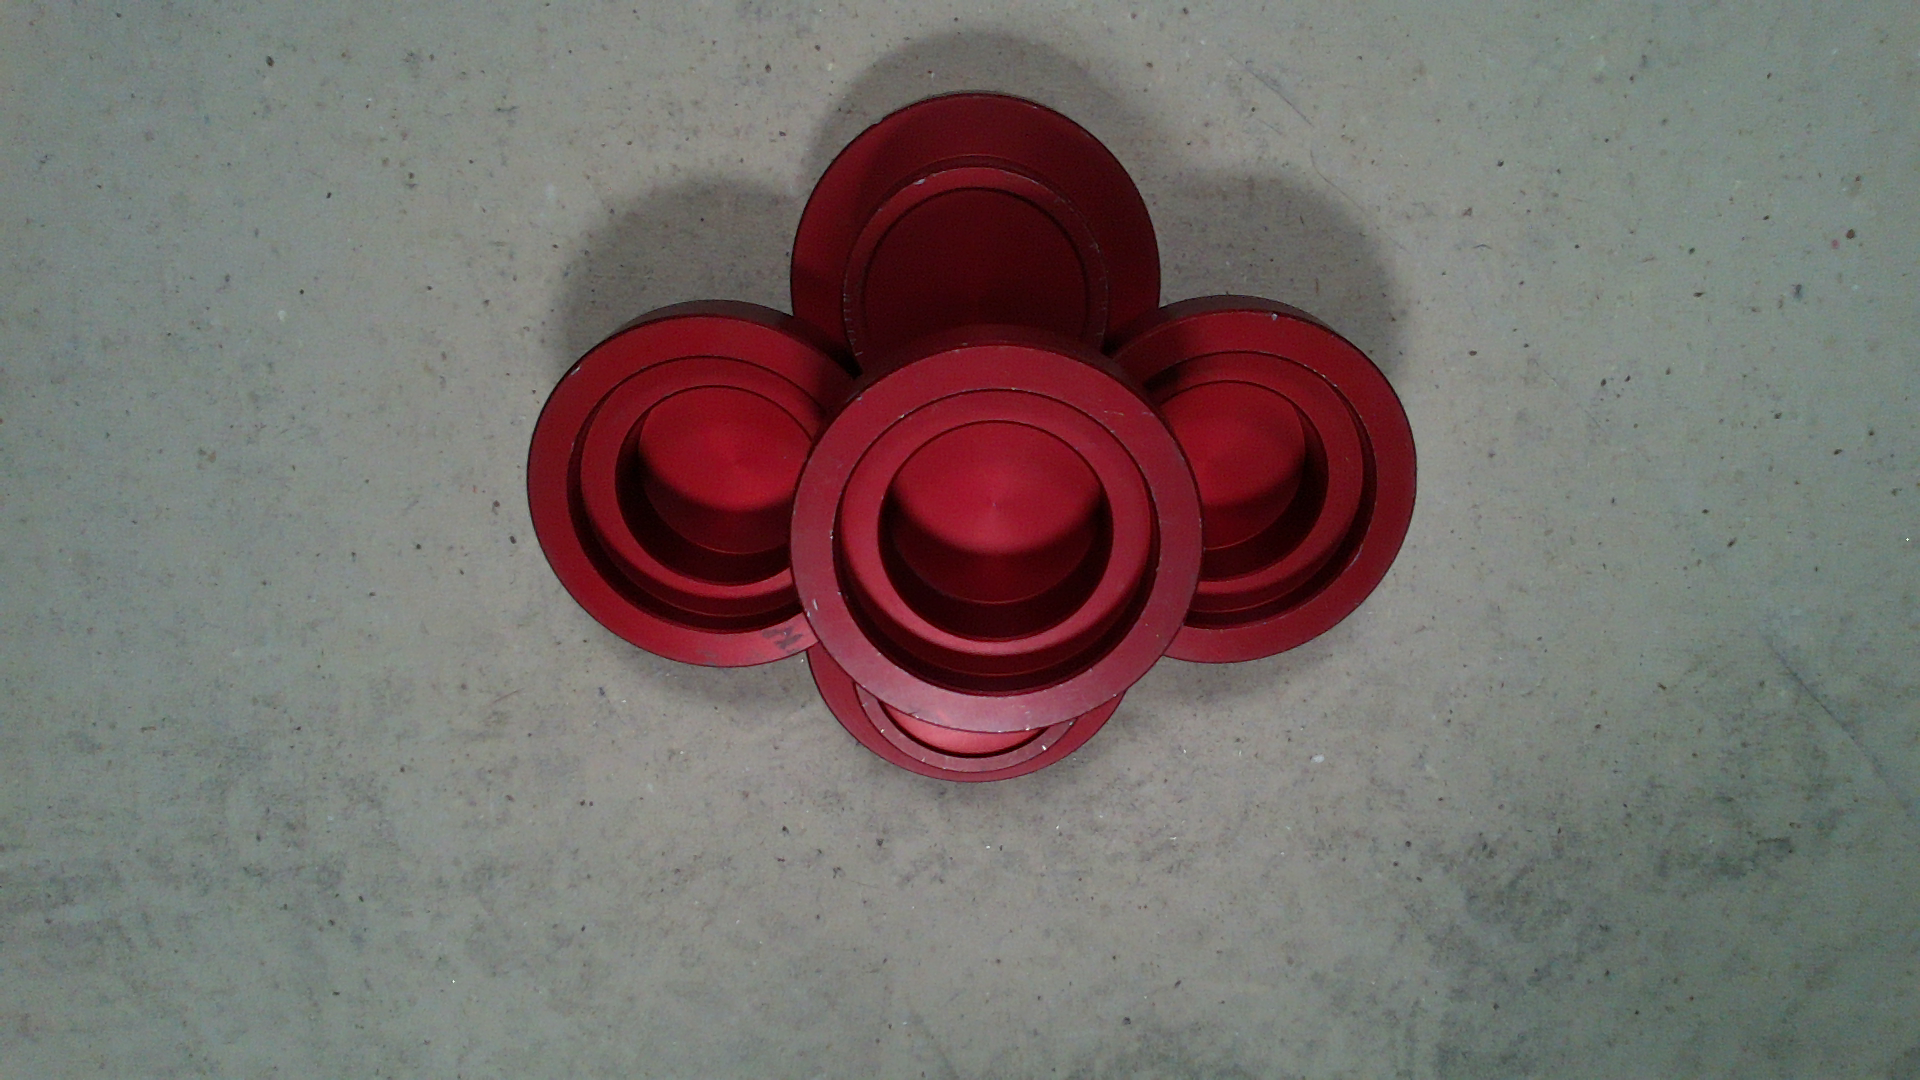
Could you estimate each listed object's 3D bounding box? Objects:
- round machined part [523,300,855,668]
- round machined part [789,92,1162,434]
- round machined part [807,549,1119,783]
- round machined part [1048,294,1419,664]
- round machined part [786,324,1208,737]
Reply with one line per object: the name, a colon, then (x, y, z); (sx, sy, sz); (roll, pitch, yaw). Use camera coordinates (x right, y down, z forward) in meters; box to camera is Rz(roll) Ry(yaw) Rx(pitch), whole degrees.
round machined part: (-0.065, -0.018, 0.378); (0.098, 0.042, 0.098); (0, 110, 0)
round machined part: (0.004, -0.066, 0.361); (0.098, 0.042, 0.098); (0, 110, 0)
round machined part: (0.004, 0.027, 0.395); (0.098, 0.042, 0.098); (0, 110, 0)
round machined part: (0.071, -0.019, 0.378); (0.098, 0.042, 0.098); (0, 110, 0)
round machined part: (0.009, -0.005, 0.338); (0.098, 0.042, 0.098); (0, 111, 0)
